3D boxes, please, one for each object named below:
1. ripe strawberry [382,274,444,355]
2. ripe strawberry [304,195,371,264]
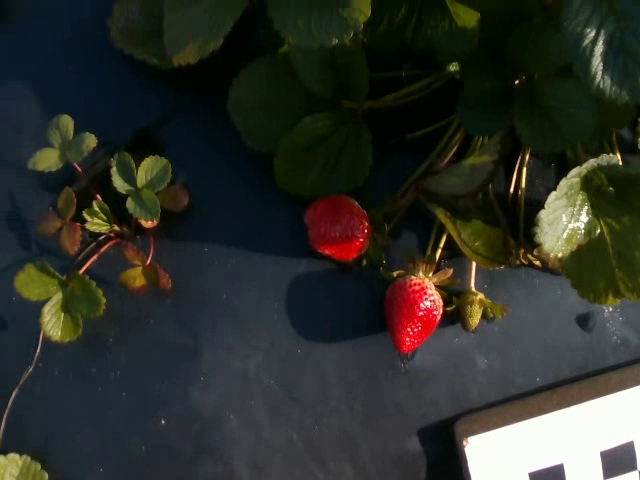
[{"bbox_3d":[0.056,0.046,0.398,0.043,0.053,0.038,27,-28,-14],"label":"ripe strawberry"},{"bbox_3d":[0.012,-0.007,0.413,0.054,0.048,0.039,-7,19,-30],"label":"ripe strawberry"}]
